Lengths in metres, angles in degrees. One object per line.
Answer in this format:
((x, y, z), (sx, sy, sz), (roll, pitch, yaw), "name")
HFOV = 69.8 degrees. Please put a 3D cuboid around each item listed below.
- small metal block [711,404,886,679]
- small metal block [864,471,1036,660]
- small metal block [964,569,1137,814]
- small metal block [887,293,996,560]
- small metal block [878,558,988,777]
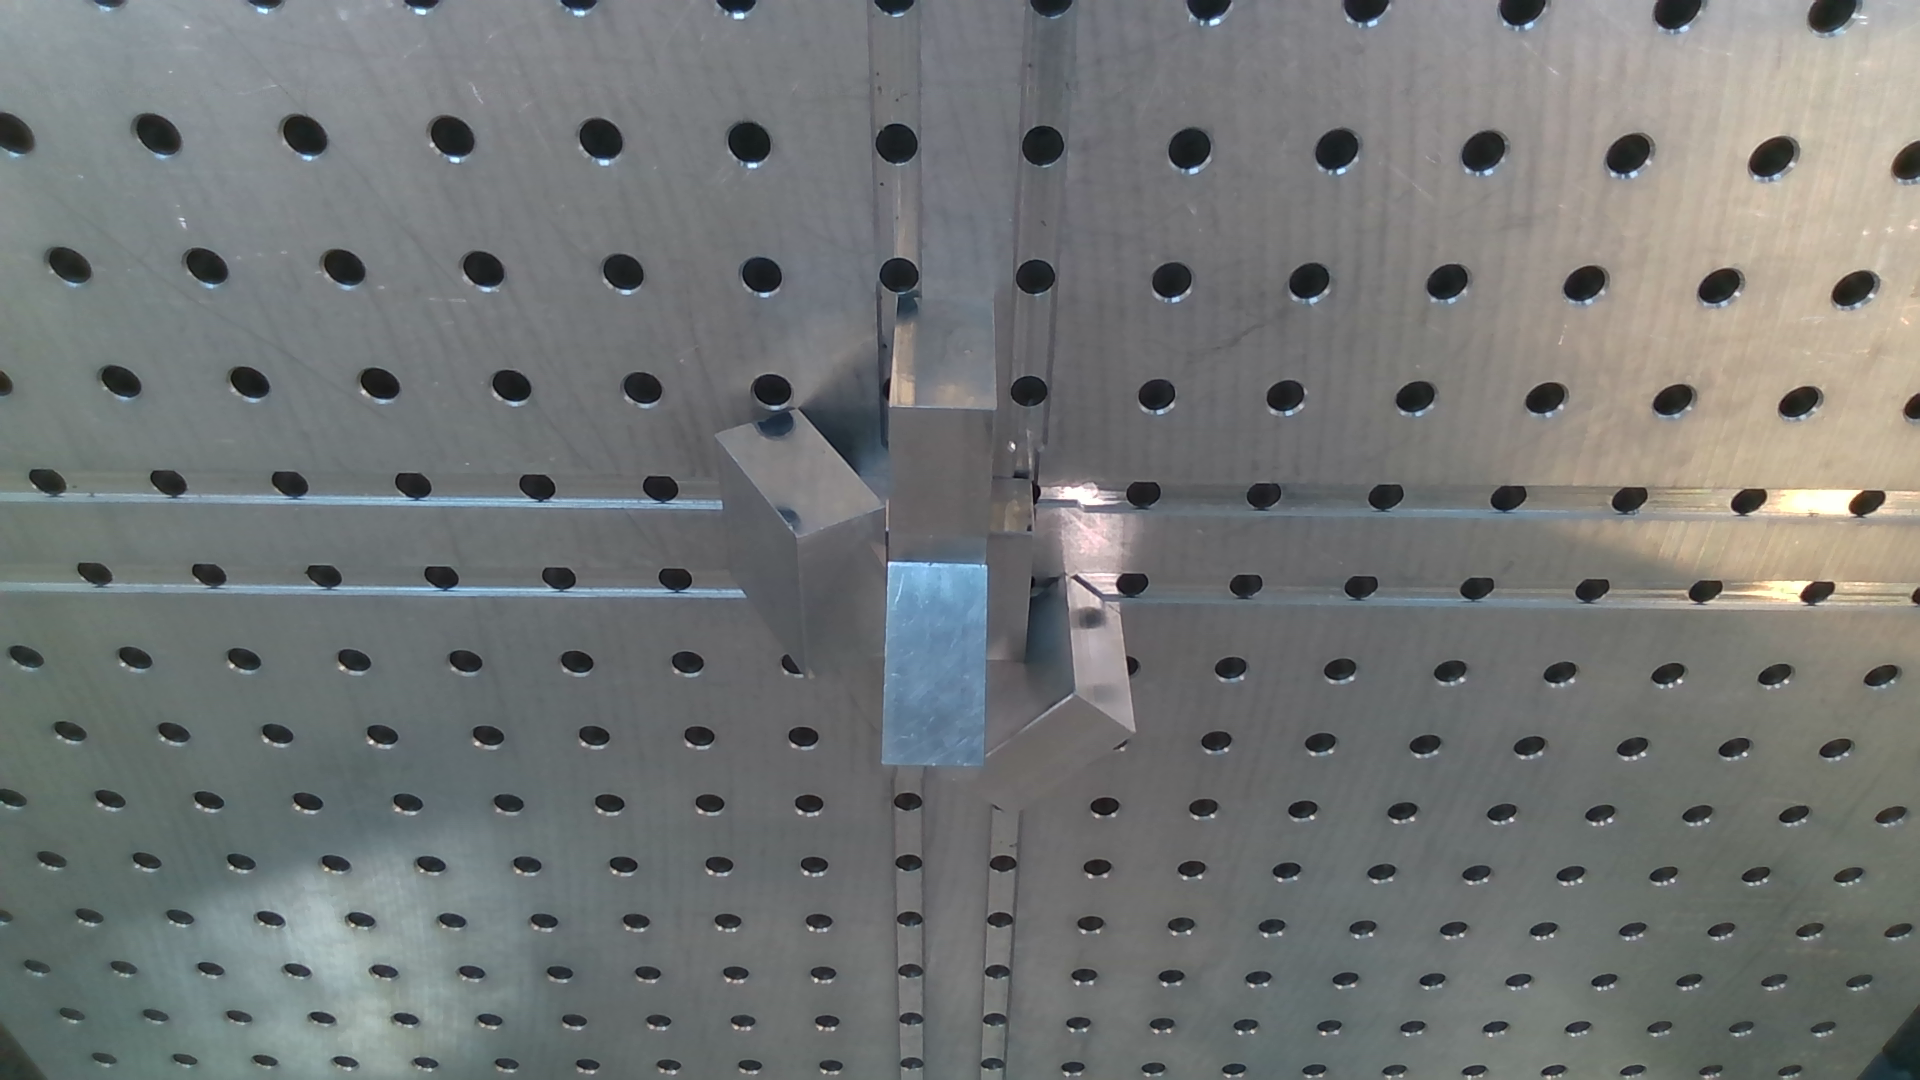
((-0.043, 0.000, 0.371), (0.025, 0.050, 0.050), (-21, 135, -25), "small metal block")
((-0.005, 0.008, 0.397), (0.050, 0.025, 0.050), (1, 131, -1), "small metal block")
((0.024, 0.045, 0.413), (0.025, 0.050, 0.050), (35, 122, -27), "small metal block")
((-0.005, -0.028, 0.350), (0.025, 0.050, 0.050), (1, 129, -1), "small metal block")
((-0.007, 0.035, 0.358), (0.025, 0.050, 0.050), (2, 167, -1), "small metal block")
